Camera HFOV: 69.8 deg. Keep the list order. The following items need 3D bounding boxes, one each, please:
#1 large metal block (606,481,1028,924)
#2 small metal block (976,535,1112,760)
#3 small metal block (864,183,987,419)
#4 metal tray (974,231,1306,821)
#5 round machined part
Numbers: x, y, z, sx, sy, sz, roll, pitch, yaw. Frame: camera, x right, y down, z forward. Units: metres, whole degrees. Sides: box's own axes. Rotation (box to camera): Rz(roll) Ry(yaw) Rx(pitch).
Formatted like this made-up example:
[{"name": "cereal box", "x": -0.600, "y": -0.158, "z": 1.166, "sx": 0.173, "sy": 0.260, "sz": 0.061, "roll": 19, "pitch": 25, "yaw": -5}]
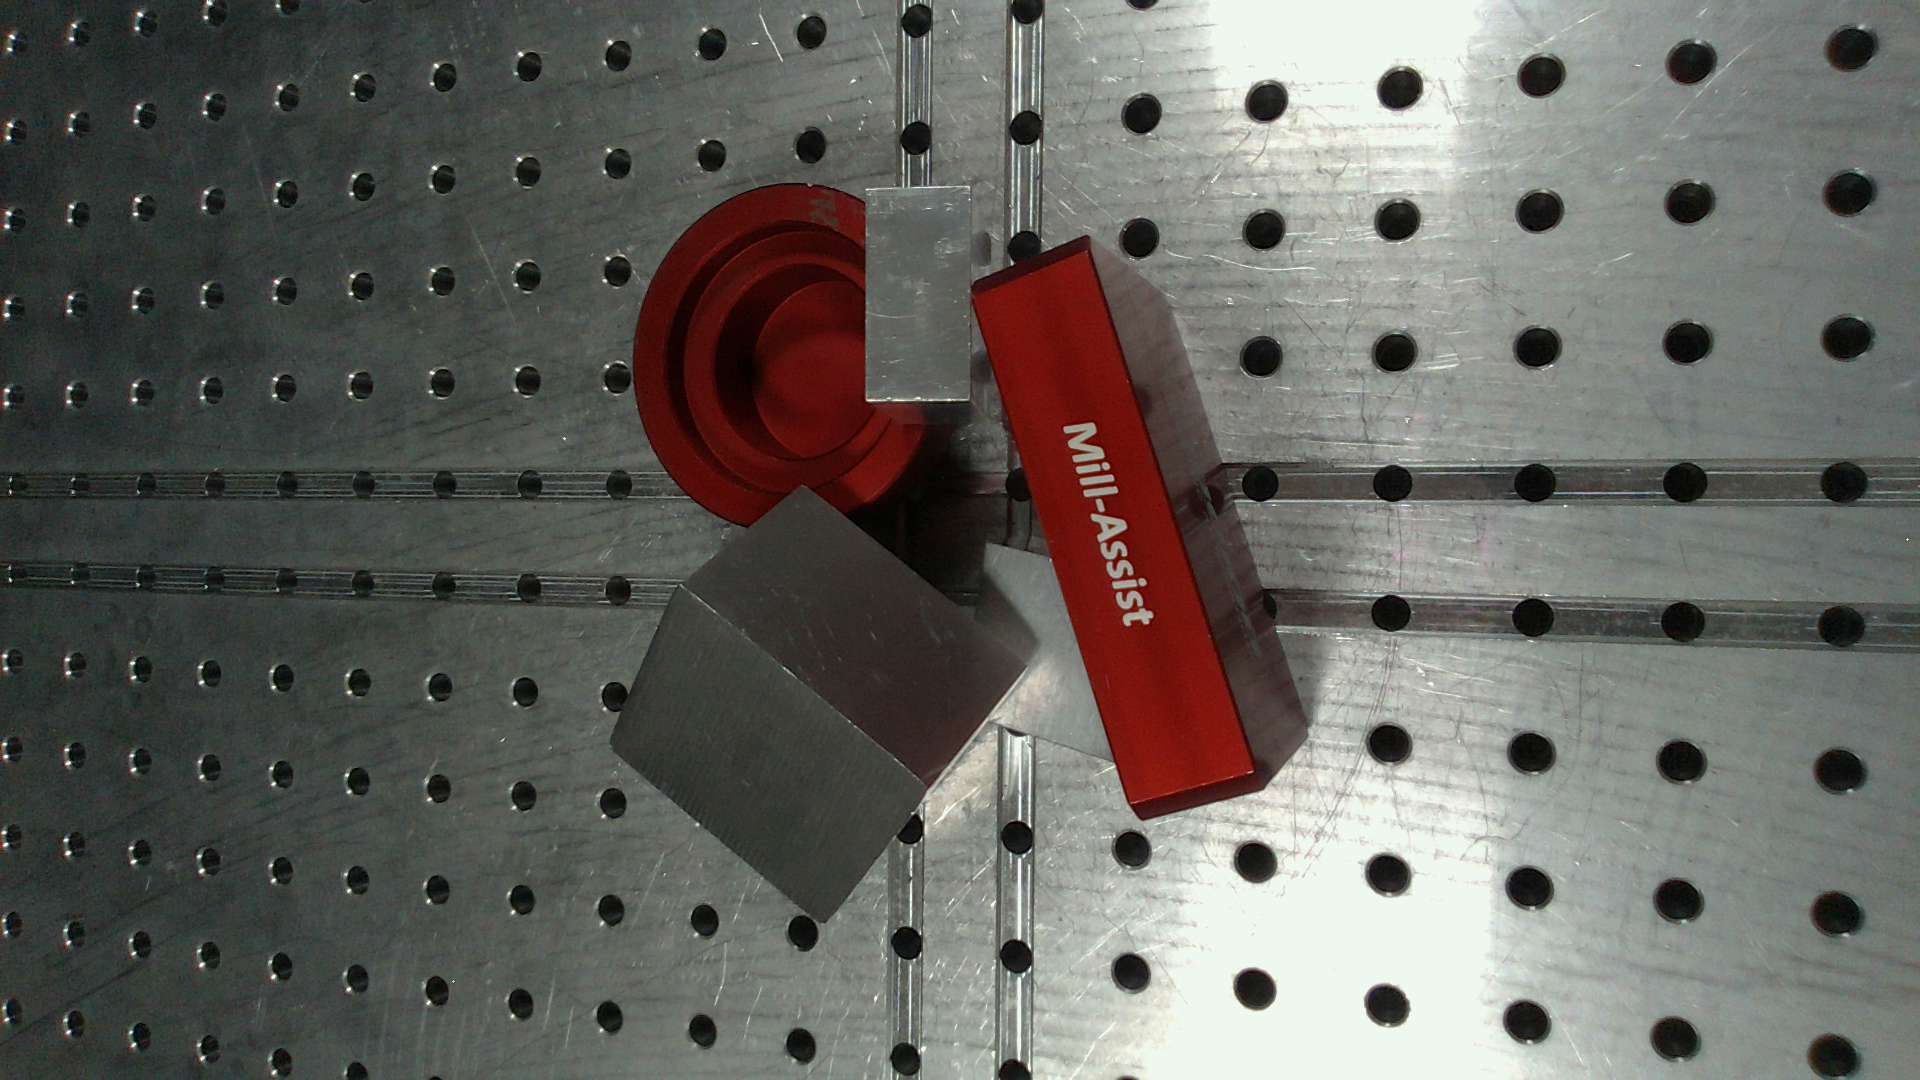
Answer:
[{"name": "large metal block", "x": -0.041, "y": 0.046, "z": 0.376, "sx": 0.080, "sy": 0.050, "sz": 0.080, "roll": 38, "pitch": 135, "yaw": 5}, {"name": "small metal block", "x": 0.031, "y": 0.029, "z": 0.382, "sx": 0.050, "sy": 0.025, "sz": 0.050, "roll": 14, "pitch": 99, "yaw": 31}, {"name": "small metal block", "x": -0.007, "y": -0.057, "z": 0.344, "sx": 0.025, "sy": 0.050, "sz": 0.050, "roll": 0, "pitch": 89, "yaw": 6}, {"name": "metal tray", "x": 0.049, "y": -0.004, "z": 0.346, "sx": 0.030, "sy": 0.090, "sz": 0.130, "roll": -19, "pitch": 84, "yaw": 19}, {"name": "round machined part", "x": -0.043, "y": -0.051, "z": 0.405, "sx": 0.098, "sy": 0.042, "sz": 0.098, "roll": 0, "pitch": 90, "yaw": 20}]
